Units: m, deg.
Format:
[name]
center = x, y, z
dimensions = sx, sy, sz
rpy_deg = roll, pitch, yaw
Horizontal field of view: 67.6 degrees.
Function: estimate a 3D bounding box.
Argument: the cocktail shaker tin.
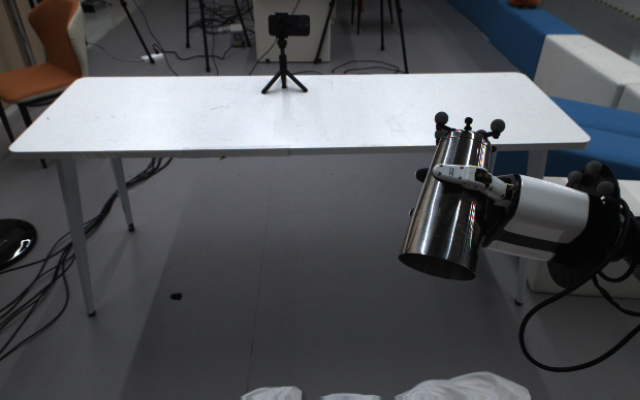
[cocktail shaker tin]
center = 0.163, 0.003, 0.594
dimensions = 0.093, 0.093, 0.170
rpy_deg = 13, 70, 15
